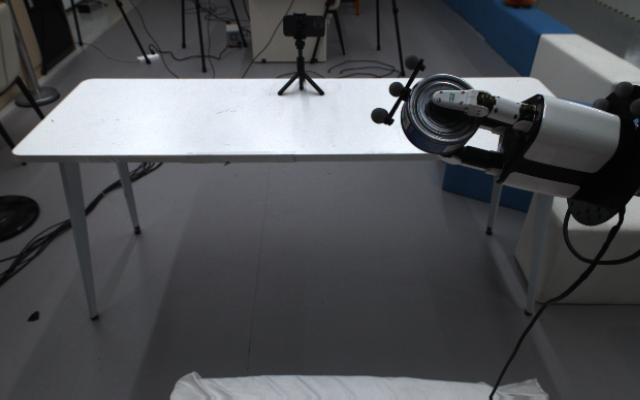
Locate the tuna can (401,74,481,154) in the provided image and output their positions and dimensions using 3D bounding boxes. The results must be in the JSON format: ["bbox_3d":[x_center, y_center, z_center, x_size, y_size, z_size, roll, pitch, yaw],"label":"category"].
[{"bbox_3d":[0.138,-0.099,0.545,0.085,0.034,0.085,1,75,-5],"label":"tuna can"}]
